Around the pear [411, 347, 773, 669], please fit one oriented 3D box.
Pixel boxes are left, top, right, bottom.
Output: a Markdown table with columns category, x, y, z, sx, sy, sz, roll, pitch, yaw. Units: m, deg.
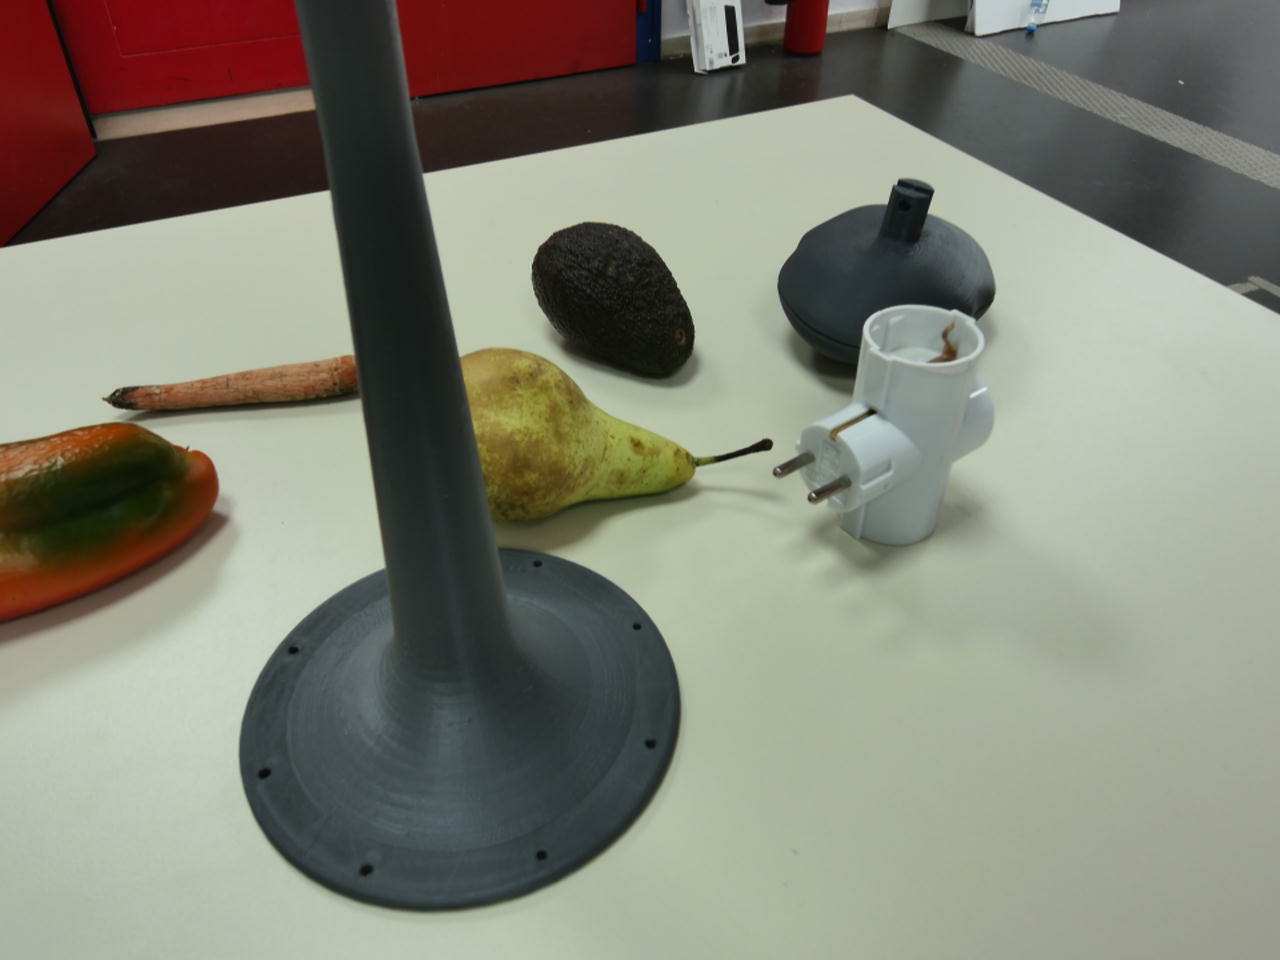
| category | x | y | z | sx | sy | sz | roll | pitch | yaw |
| --- | --- | --- | --- | --- | --- | --- | --- | --- | --- |
| pear | -0.023 | -0.025 | 0.422 | 0.144 | 0.075 | 0.071 | -13 | 39 | -16 |
